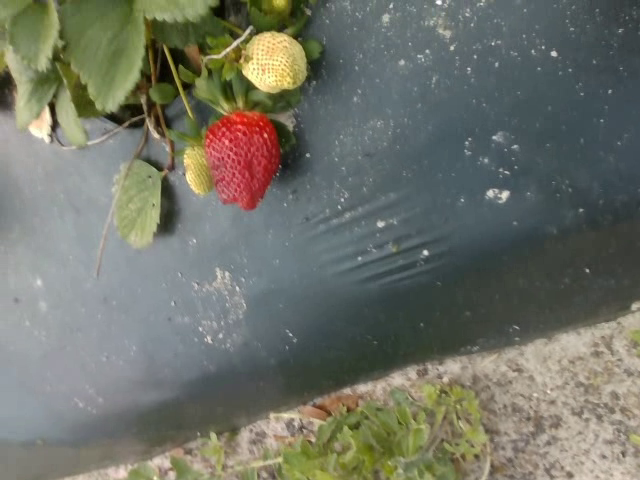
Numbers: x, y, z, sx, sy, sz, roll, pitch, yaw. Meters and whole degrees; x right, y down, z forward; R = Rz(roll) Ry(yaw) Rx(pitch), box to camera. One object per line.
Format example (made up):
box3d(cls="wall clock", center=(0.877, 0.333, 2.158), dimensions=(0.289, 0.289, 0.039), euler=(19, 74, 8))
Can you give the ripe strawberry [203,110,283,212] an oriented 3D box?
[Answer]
box3d(cls="ripe strawberry", center=(-0.039, -0.038, 0.315), dimensions=(0.046, 0.059, 0.045), euler=(-21, -27, 34))
